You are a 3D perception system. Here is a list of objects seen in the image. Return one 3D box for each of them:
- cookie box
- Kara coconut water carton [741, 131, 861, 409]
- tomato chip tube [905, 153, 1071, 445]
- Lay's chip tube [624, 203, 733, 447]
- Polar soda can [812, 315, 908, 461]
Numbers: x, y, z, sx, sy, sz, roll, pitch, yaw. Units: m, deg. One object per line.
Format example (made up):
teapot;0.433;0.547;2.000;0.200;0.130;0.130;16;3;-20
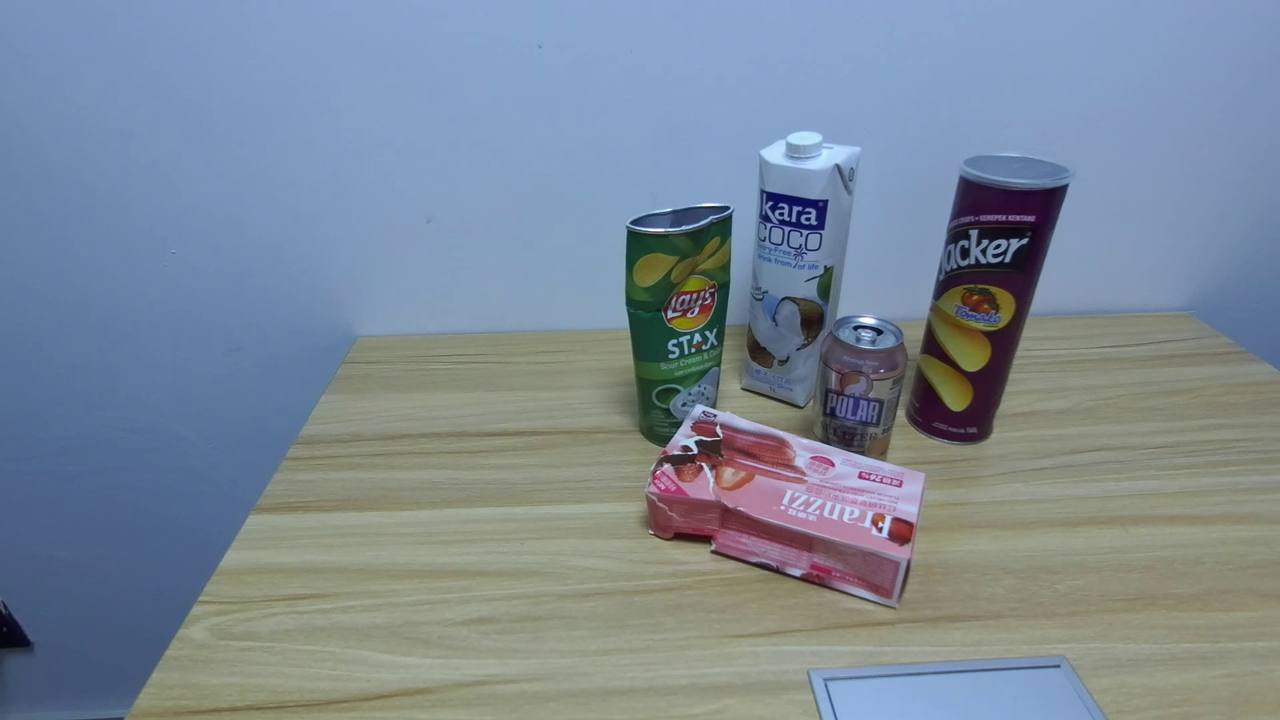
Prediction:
cookie box;0.107;0.099;0.518;0.185;0.059;0.105;13;36;19
Kara coconut water carton;0.142;-0.081;0.637;0.076;0.245;0.075;18;35;29
tomato chip tube;0.285;-0.044;0.591;0.078;0.234;0.078;-1;32;1
Lay's chip tube;0.033;-0.025;0.588;0.068;0.200;0.075;12;34;20
Polar soda can;0.177;0.029;0.572;0.067;0.126;0.067;-2;31;1
